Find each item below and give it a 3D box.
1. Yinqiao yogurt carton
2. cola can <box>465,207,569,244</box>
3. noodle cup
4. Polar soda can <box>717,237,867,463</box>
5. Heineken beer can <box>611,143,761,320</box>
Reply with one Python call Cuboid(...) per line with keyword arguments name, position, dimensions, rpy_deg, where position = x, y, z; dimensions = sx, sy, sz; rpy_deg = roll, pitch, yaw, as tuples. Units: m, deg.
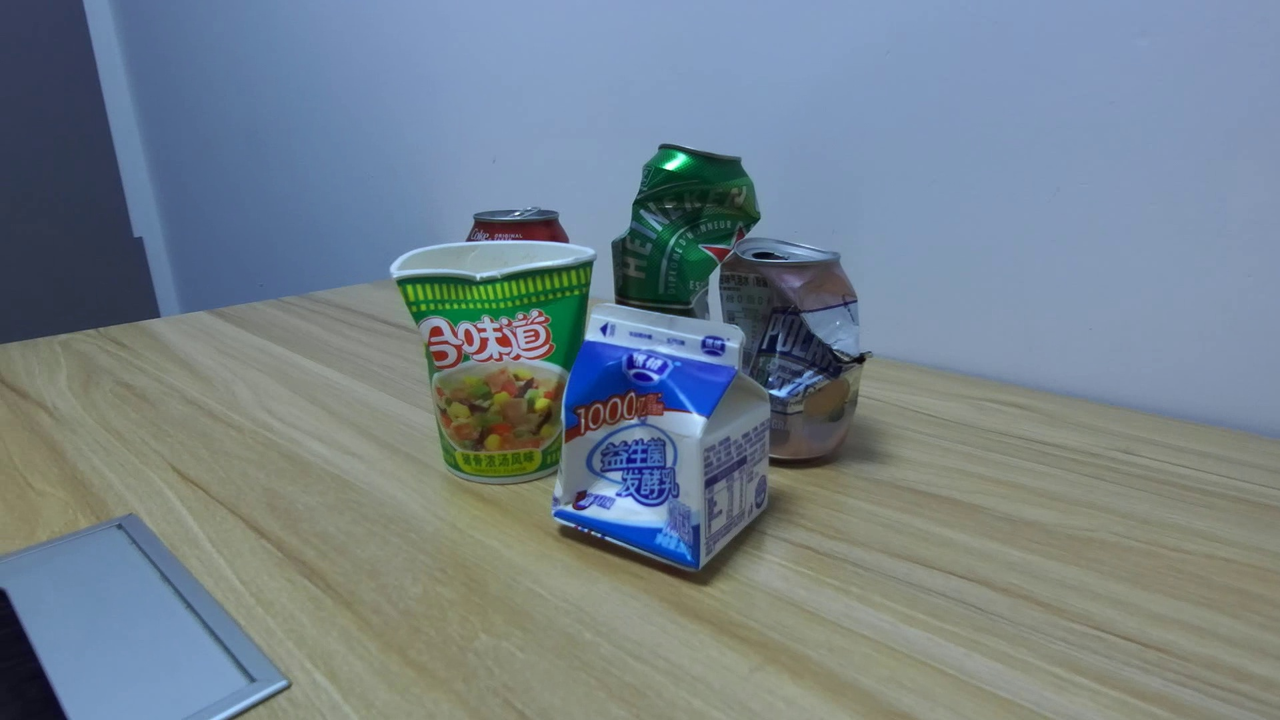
Cuboid(name="Yinqiao yogurt carton", position=(0.003, 0.042, 0.346), dimensions=(0.077, 0.094, 0.071), rpy_deg=(8, -9, -3))
Cuboid(name="cola can", position=(-0.080, -0.043, 0.478), dimensions=(0.068, 0.120, 0.068), rpy_deg=(-2, 19, 1))
Cuboid(name="noodle cup", position=(-0.071, -0.001, 0.370), dimensions=(0.094, 0.109, 0.087), rpy_deg=(-1, 18, -2))
Cuboid(name="Polar soda can", position=(0.079, -0.005, 0.372), dimensions=(0.074, 0.114, 0.070), rpy_deg=(0, 24, 14))
Cuboid(name="Heineken beer can", position=(0.024, -0.054, 0.453), dimensions=(0.067, 0.159, 0.079), rpy_deg=(18, 19, 37))
